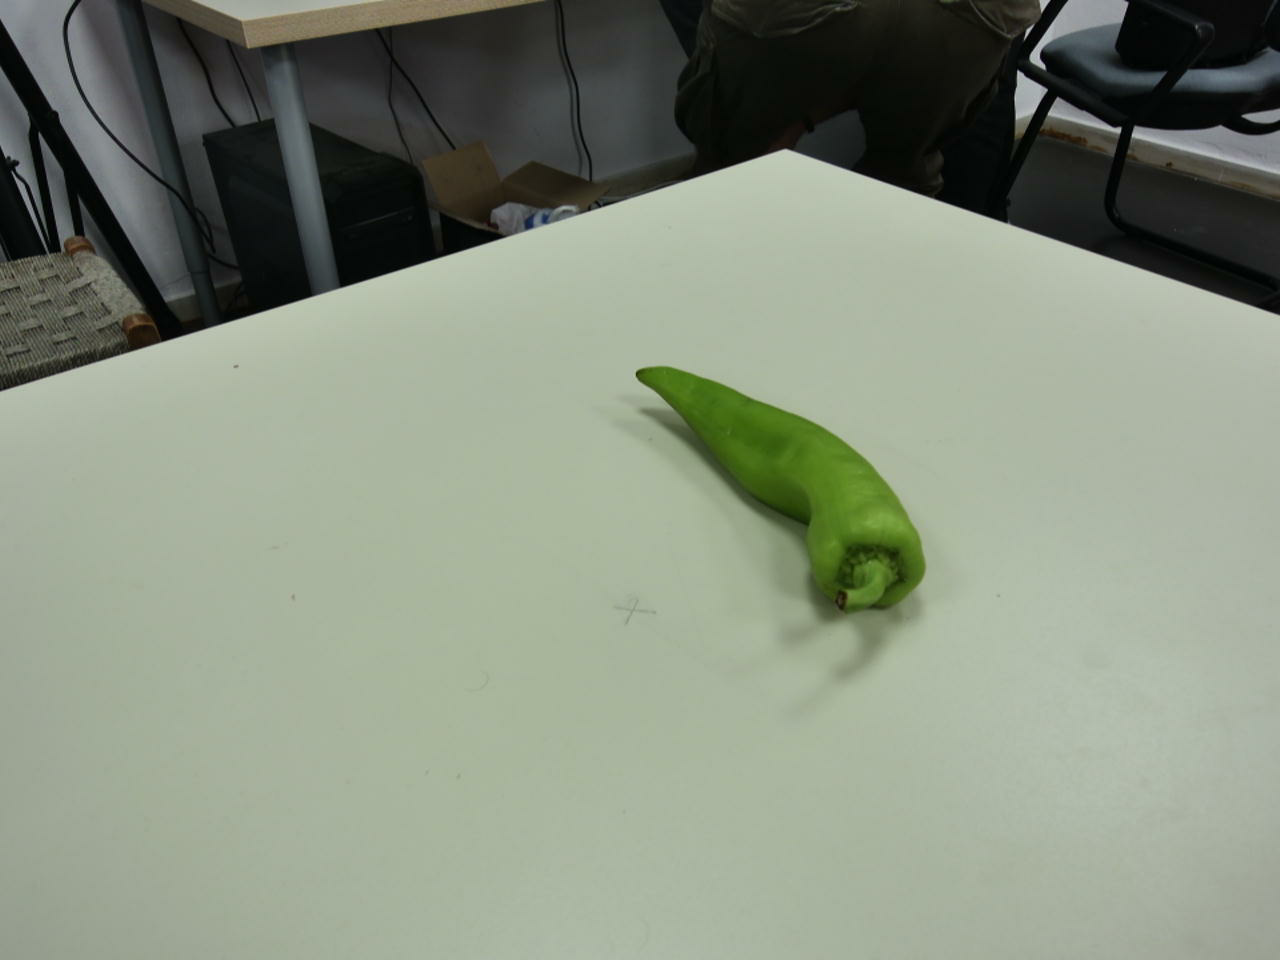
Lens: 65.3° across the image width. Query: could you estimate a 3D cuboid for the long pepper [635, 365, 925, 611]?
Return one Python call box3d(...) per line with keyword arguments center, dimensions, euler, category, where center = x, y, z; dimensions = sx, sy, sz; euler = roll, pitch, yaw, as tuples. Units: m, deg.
box3d(center=(0.064, -0.007, 0.453), dimensions=(0.065, 0.045, 0.204), euler=(-13, 37, -17), category="long pepper")
